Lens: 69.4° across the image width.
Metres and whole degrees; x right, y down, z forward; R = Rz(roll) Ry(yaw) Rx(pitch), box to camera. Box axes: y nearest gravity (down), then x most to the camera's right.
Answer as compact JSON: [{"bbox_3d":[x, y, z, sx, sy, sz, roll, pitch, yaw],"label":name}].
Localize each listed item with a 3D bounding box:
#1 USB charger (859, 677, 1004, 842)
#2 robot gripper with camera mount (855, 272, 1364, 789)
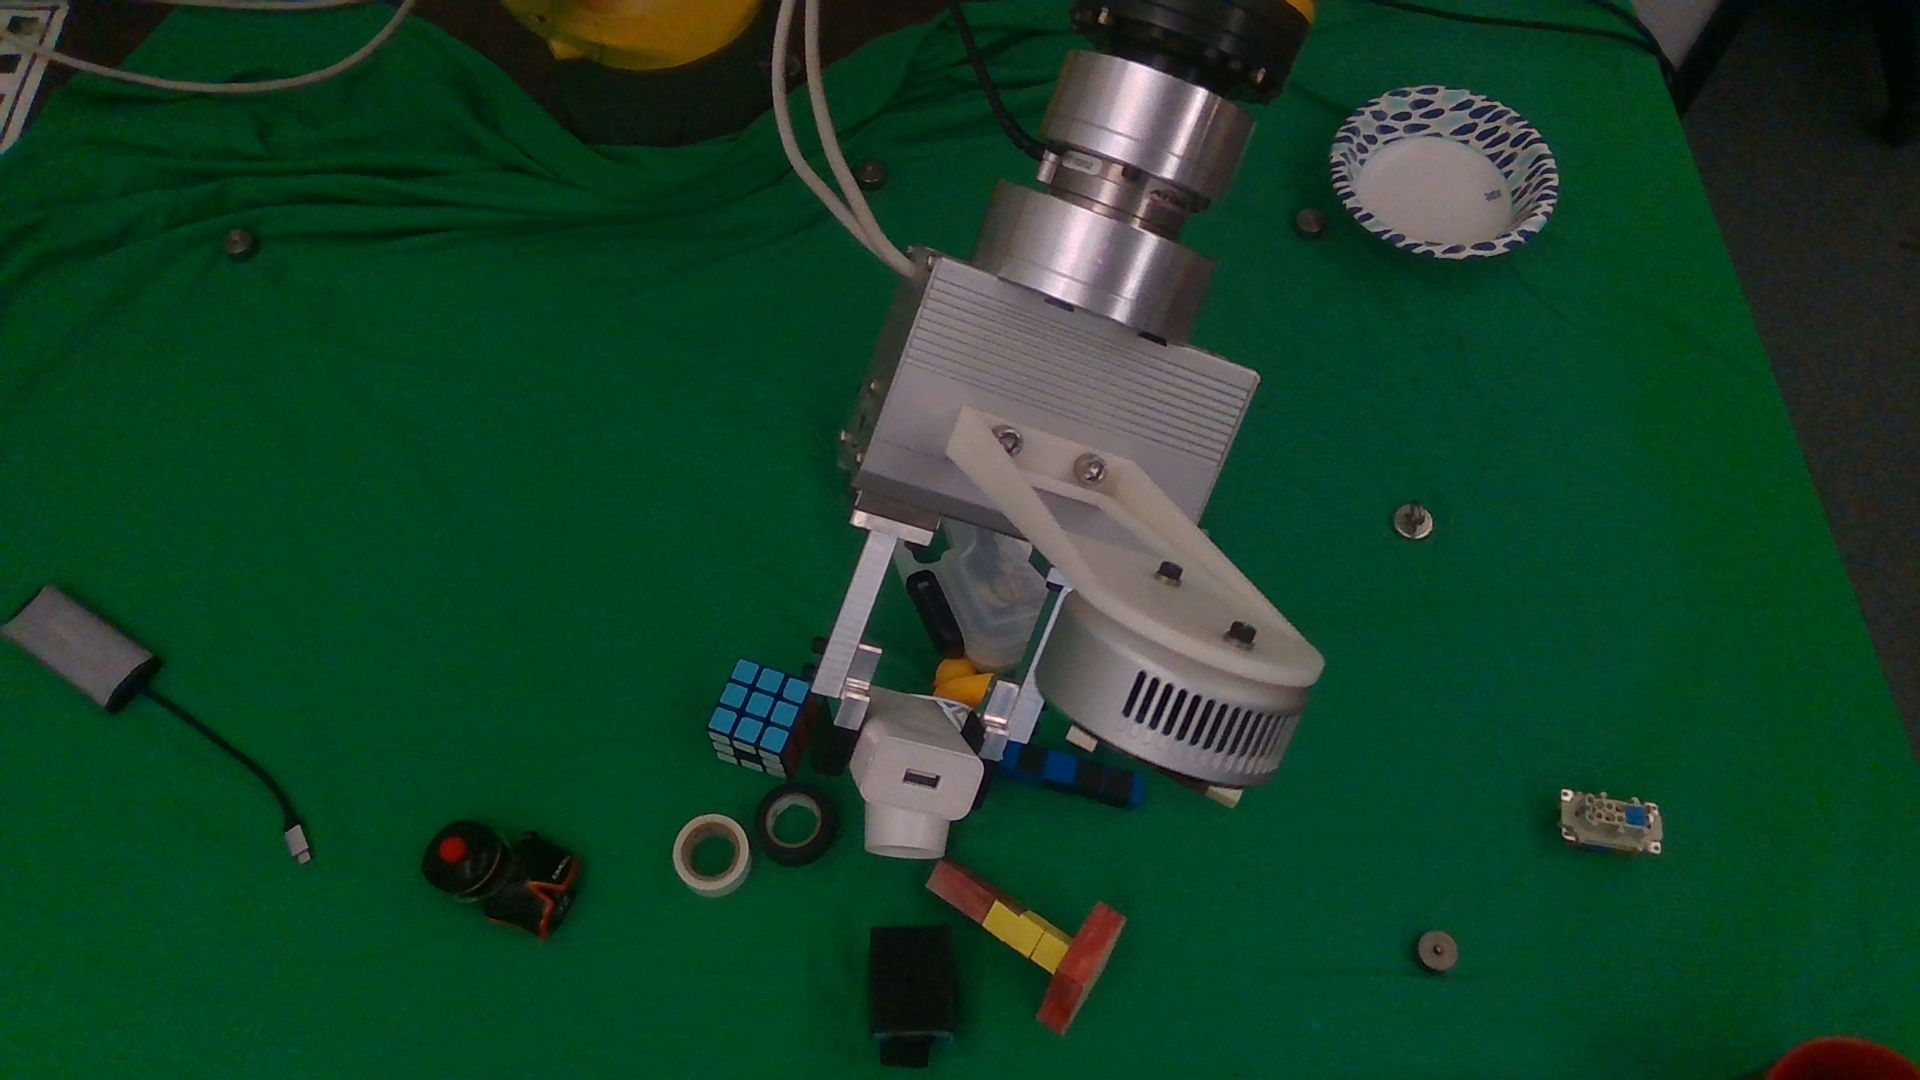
[{"bbox_3d":[-0.012,0.070,0.480,0.044,0.075,0.029,25,102,-15],"label":"USB charger"},{"bbox_3d":[0.038,0.027,0.389,0.118,0.194,0.158,15,100,-20],"label":"robot gripper with camera mount"}]
